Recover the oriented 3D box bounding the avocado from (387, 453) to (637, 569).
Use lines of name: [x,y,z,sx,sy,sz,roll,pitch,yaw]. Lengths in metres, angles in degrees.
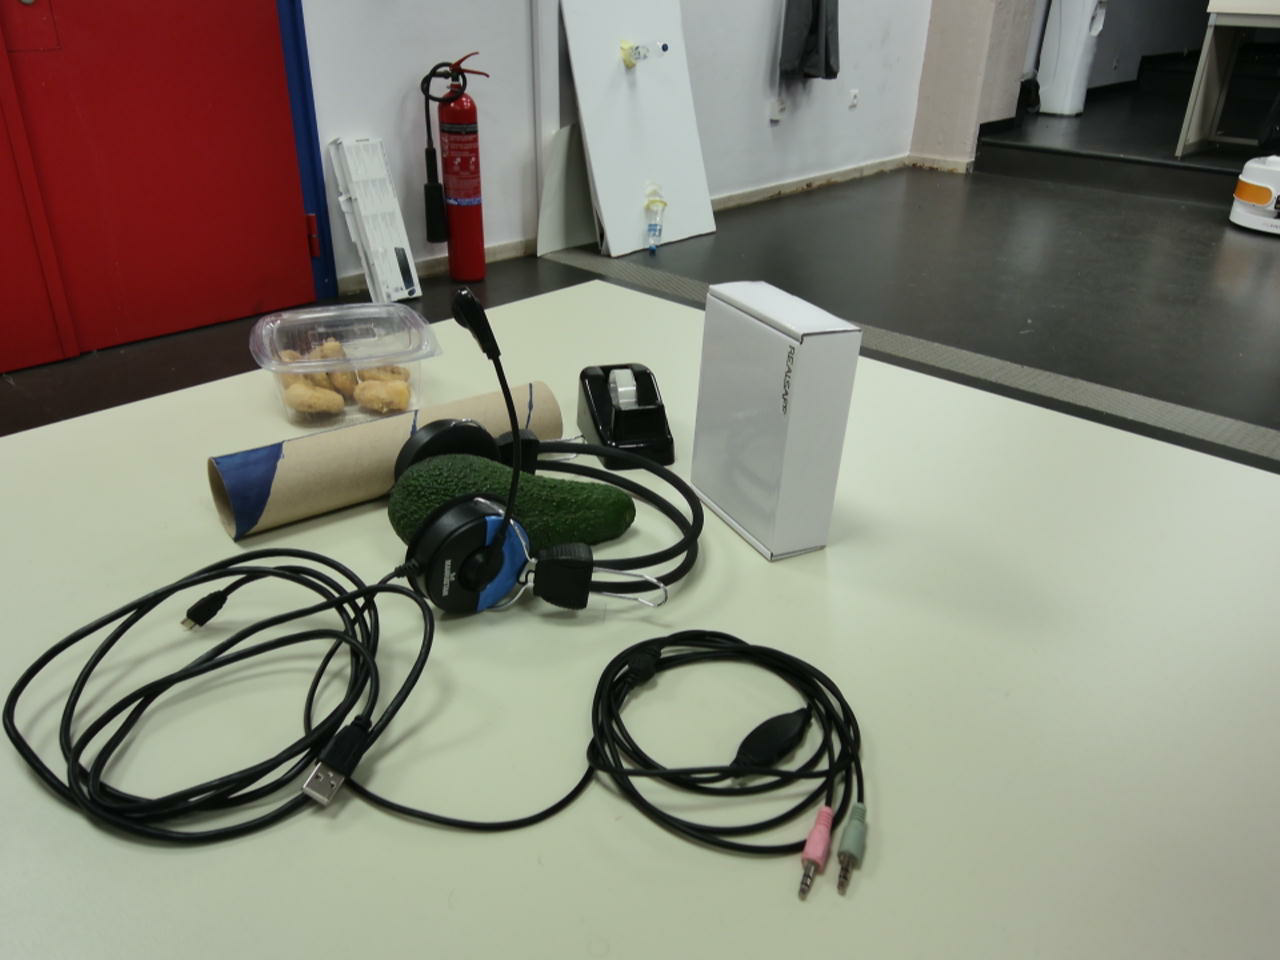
avocado: [-0.071,0.010,0.565,0.141,0.067,0.063,-15,30,-30]
